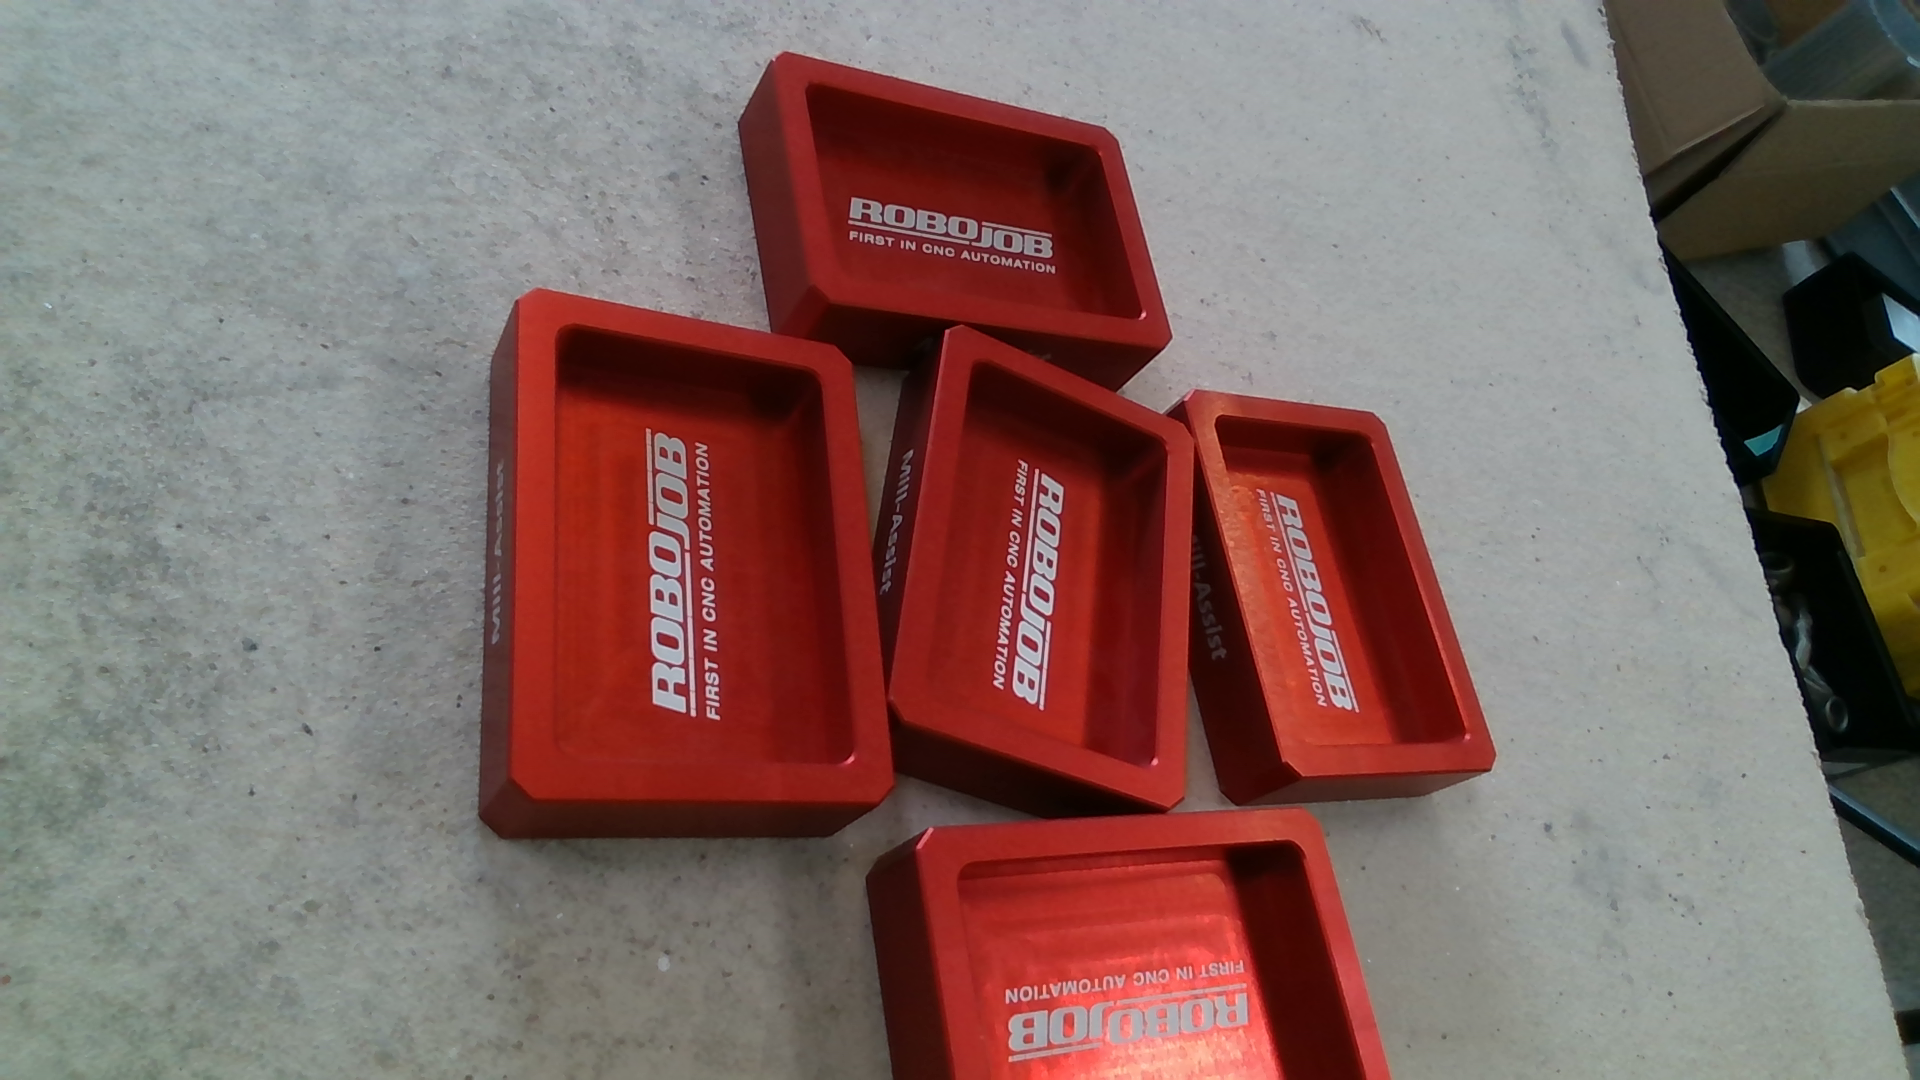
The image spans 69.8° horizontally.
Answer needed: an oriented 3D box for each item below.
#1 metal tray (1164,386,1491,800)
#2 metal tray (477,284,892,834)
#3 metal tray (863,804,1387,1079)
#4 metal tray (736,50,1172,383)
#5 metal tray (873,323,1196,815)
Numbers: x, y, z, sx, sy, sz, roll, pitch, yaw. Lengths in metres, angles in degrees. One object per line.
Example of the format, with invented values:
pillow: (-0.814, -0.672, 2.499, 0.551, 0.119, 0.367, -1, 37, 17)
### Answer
metal tray: (0.114, 0.017, 0.451, 0.090, 0.030, 0.130, 3, 63, -30)
metal tray: (-0.069, 0.005, 0.344, 0.090, 0.030, 0.130, 7, 62, -29)
metal tray: (0.045, 0.118, 0.355, 0.130, 0.030, 0.090, 3, 63, -30)
metal tray: (-0.001, -0.100, 0.443, 0.130, 0.030, 0.090, 2, 64, -30)
metal tray: (0.021, 0.009, 0.398, 0.090, 0.030, 0.130, 20, 56, -19)
